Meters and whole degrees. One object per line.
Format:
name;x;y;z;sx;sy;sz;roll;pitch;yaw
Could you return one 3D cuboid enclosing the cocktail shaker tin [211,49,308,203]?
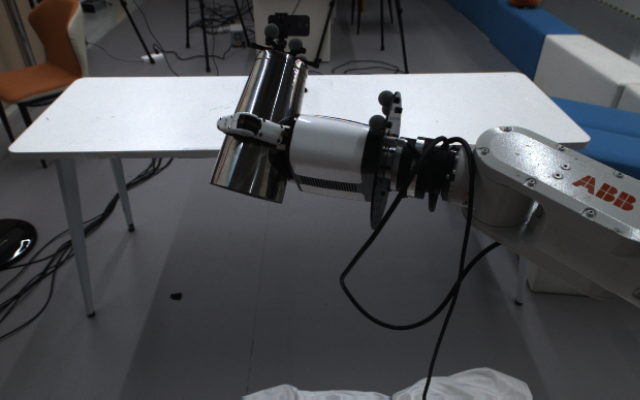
cocktail shaker tin;-0.067;-0.089;0.591;0.093;0.170;0.093;15;-4;1
